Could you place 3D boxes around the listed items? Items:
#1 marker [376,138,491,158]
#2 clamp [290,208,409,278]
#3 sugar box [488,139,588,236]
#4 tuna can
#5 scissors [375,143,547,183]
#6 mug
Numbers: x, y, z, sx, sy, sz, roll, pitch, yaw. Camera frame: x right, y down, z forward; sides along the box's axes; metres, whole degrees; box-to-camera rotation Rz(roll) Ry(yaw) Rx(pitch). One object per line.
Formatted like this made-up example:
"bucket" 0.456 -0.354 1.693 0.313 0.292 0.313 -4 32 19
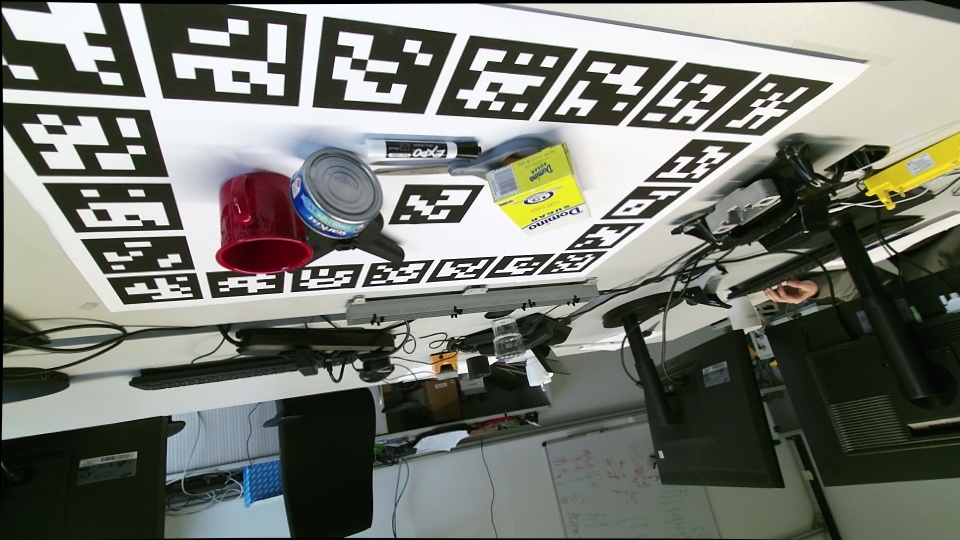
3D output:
"marker" -0.046 -0.127 0.558 0.121 0.019 0.019 -6 156 -20
"clamp" -0.171 -0.049 0.682 0.166 0.036 0.203 -8 157 -13
"sugar box" 0.078 -0.093 0.665 0.093 0.045 0.177 -18 164 12
"tuna can" -0.144 -0.077 0.536 0.086 0.085 0.034 5 152 -38
"scissors" -0.017 -0.111 0.610 0.203 0.016 0.088 -7 161 -12
"mug" -0.218 -0.055 0.559 0.093 0.081 0.117 -14 162 3
